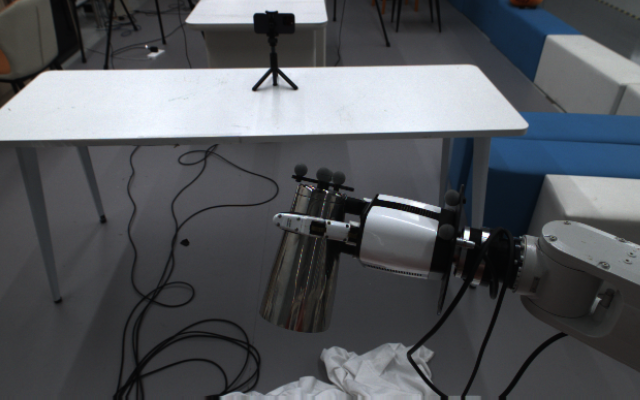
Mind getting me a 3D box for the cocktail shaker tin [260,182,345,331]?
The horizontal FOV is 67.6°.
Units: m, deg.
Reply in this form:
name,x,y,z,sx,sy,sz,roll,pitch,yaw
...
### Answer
name,x,y,z,sx,sy,sz,roll,pitch,yaw
cocktail shaker tin,-0.013,0.068,0.619,0.093,0.170,0.093,12,3,-1
